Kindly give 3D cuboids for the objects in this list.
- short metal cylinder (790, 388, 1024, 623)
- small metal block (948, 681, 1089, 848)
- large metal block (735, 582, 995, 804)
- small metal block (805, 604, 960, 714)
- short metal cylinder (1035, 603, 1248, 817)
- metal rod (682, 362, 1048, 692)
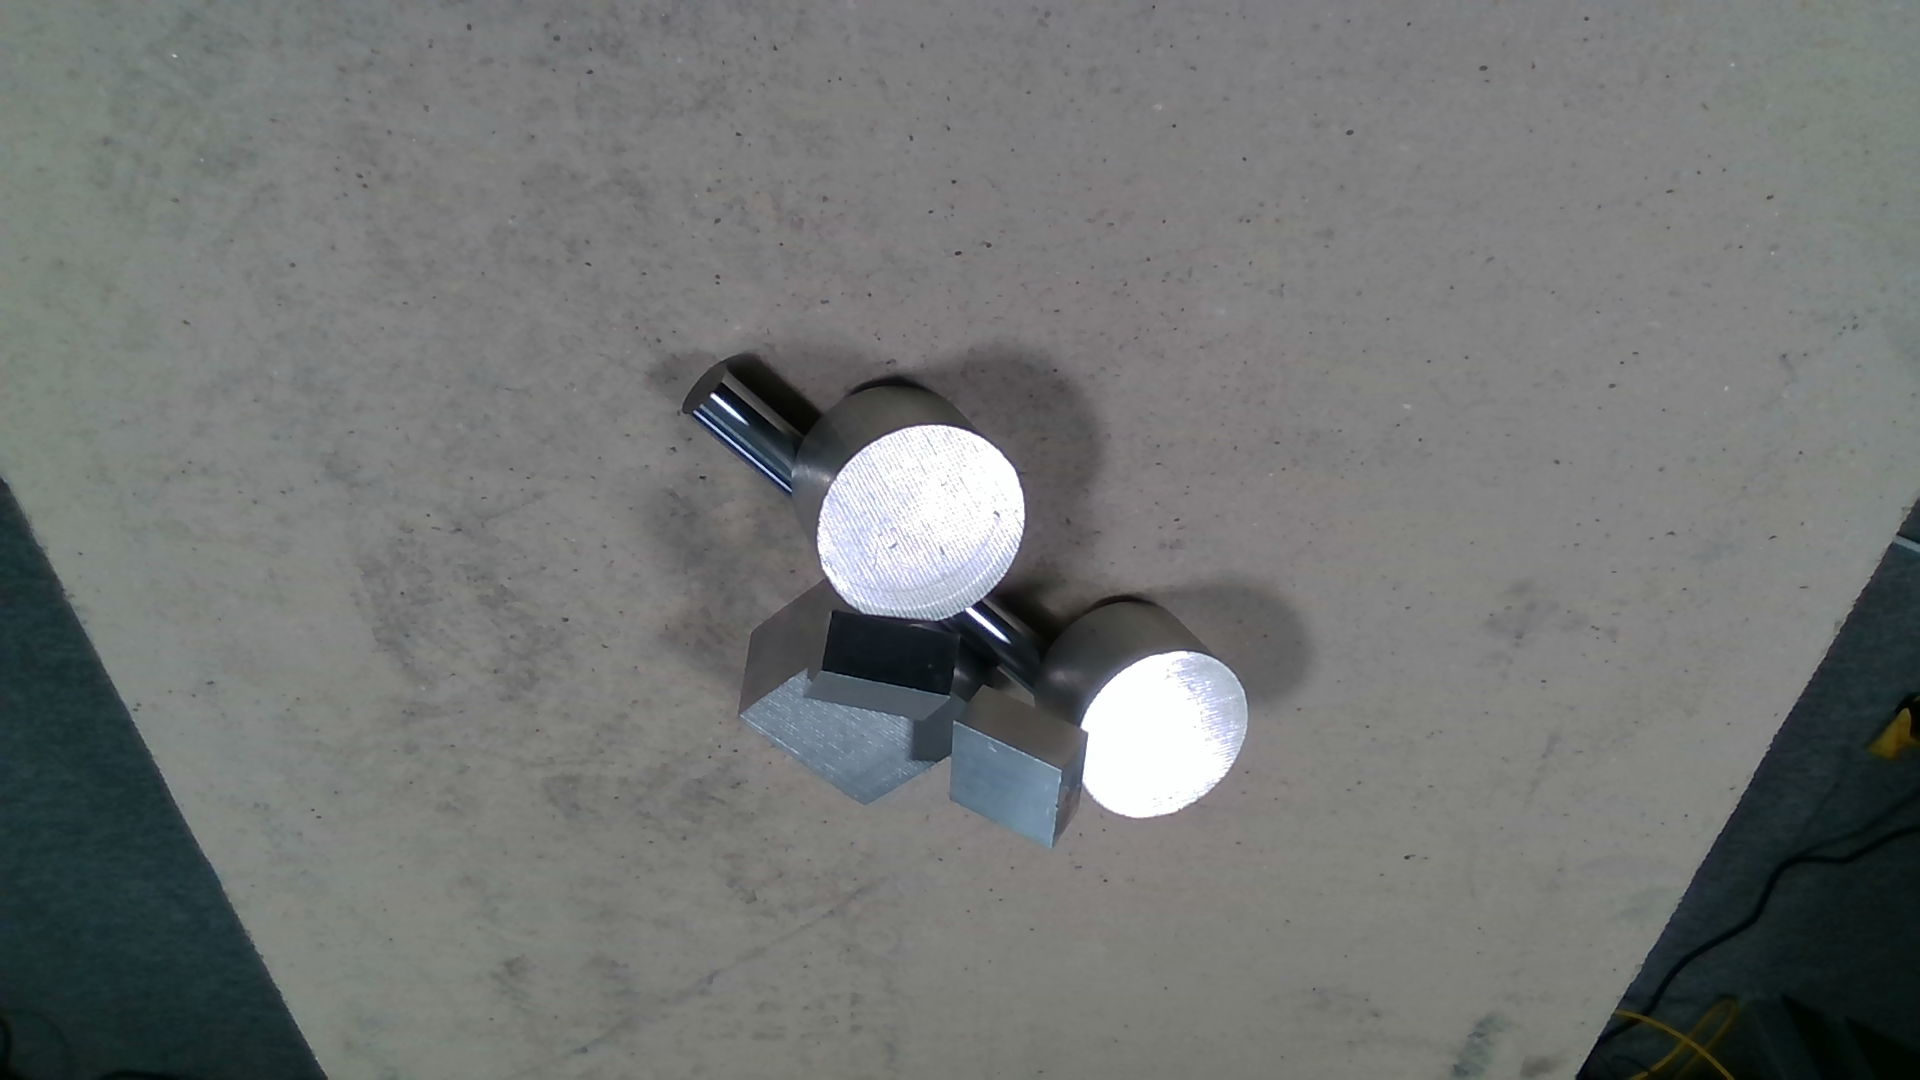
[{"bbox_3d":[-0.021,-0.014,0.533,0.080,0.050,0.080,-7,115,-16],"label":"short metal cylinder"},{"bbox_3d":[0.024,0.094,0.577,0.050,0.025,0.050,22,134,22],"label":"small metal block"},{"bbox_3d":[-0.040,0.062,0.613,0.080,0.050,0.080,-34,122,25],"label":"large metal block"},{"bbox_3d":[-0.032,0.048,0.539,0.050,0.025,0.050,13,161,-10],"label":"small metal block"},{"bbox_3d":[0.079,0.074,0.606,0.080,0.050,0.080,-7,114,-16],"label":"short metal cylinder"},{"bbox_3d":[0.001,0.027,0.602,0.025,0.025,0.301,-34,122,25],"label":"metal rod"}]
